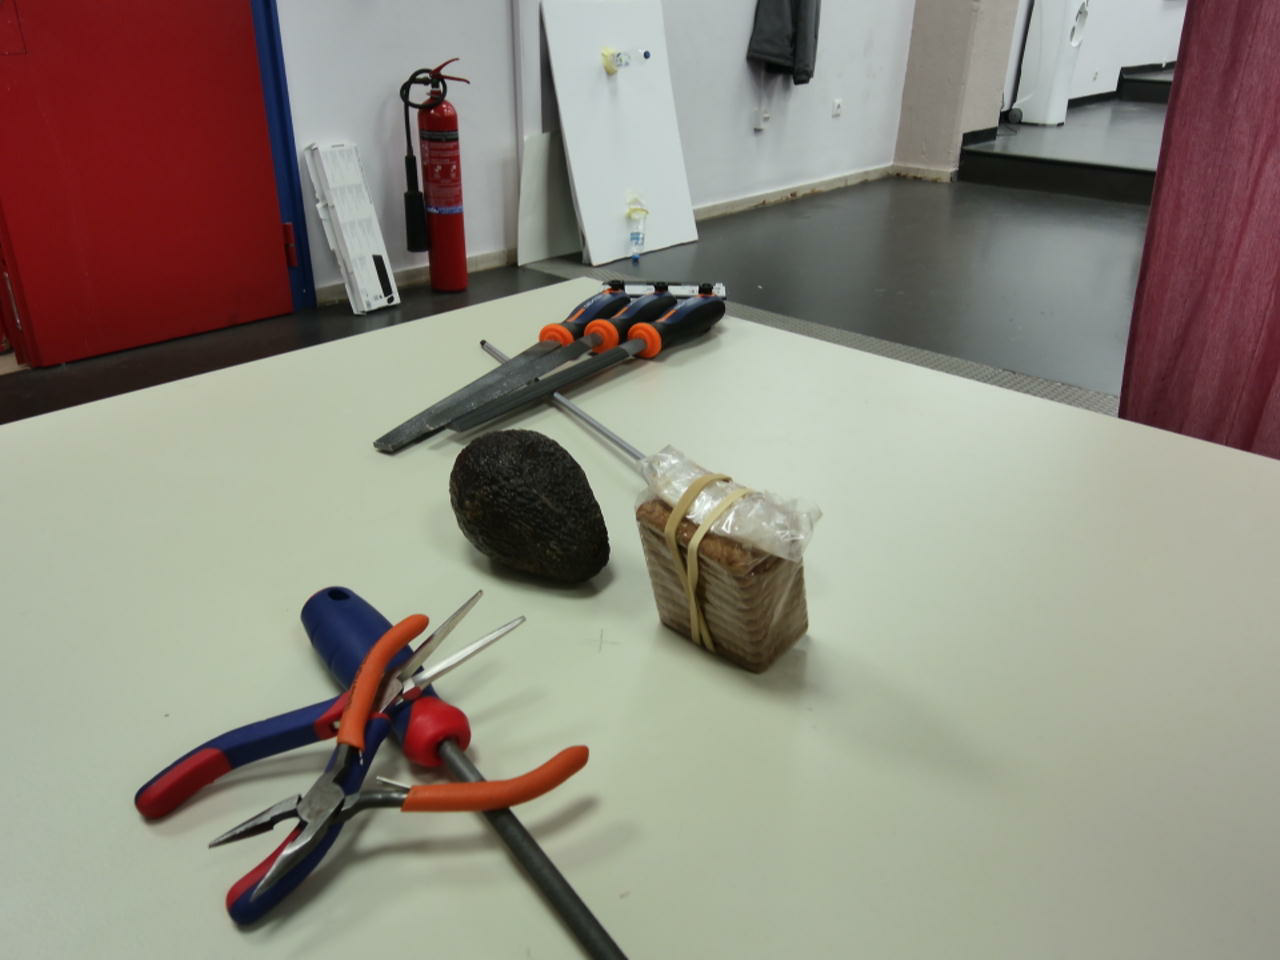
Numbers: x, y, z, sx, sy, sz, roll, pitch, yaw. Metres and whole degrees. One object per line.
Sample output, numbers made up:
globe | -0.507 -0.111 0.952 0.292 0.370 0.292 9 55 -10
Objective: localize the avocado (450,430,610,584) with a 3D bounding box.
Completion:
avocado | -0.059 0.011 0.509 0.070 0.069 0.090 -10 26 -22
